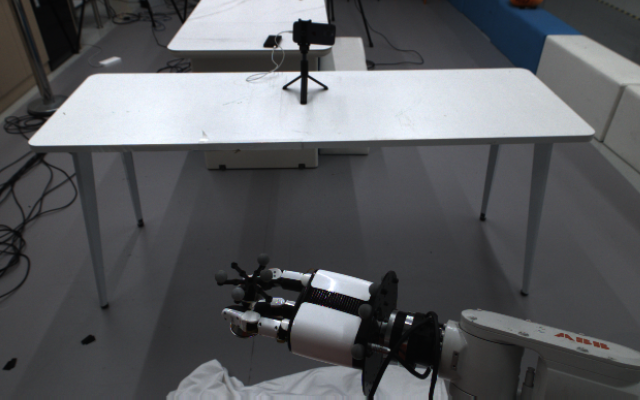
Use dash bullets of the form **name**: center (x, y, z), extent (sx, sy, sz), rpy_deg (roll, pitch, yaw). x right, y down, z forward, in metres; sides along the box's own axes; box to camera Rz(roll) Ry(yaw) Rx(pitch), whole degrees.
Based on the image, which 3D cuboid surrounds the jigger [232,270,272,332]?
- **jigger**: center (-0.101, 0.153, 0.677), extent (0.043, 0.071, 0.043), rpy_deg (9, 30, -5)
